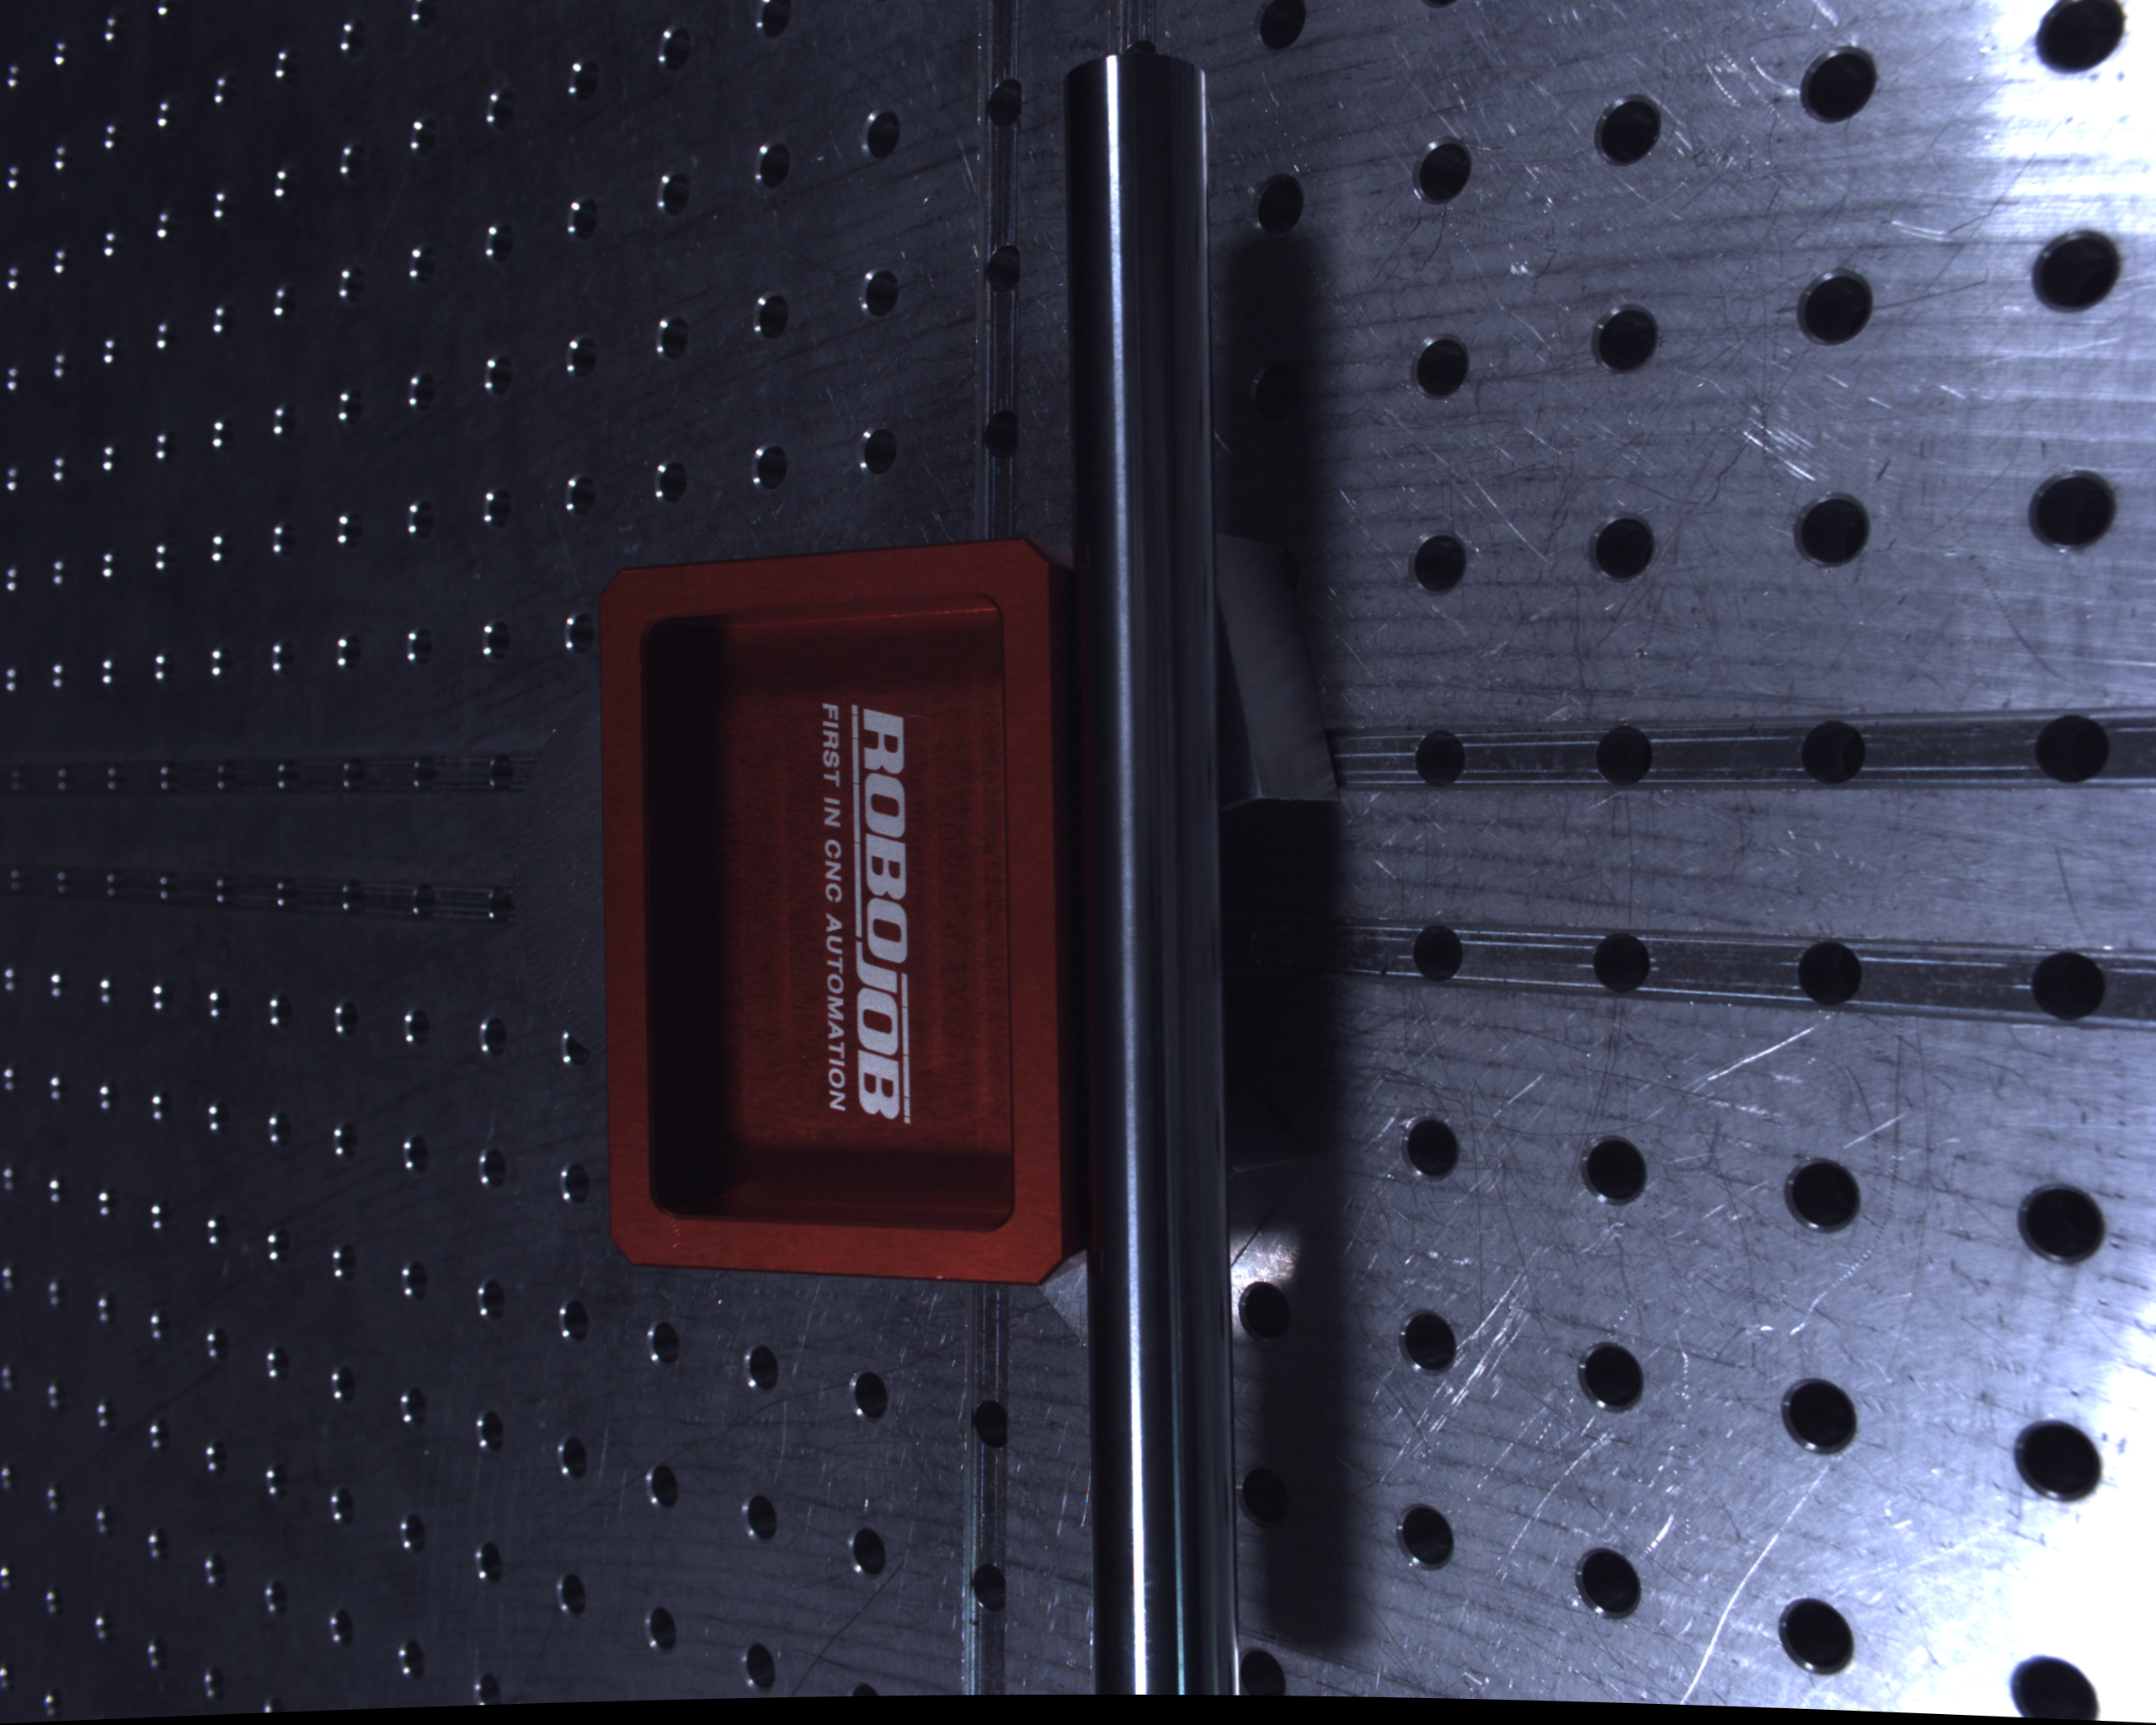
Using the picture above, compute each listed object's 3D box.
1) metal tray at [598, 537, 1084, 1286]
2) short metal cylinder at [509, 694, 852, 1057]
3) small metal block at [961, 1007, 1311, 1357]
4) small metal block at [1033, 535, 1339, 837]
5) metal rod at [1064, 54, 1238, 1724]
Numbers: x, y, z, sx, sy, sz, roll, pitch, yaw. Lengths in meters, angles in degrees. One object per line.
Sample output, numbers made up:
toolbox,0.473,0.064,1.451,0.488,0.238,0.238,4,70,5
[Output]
metal tray,-0.041,0.009,0.386,0.090,0.030,0.129,-1,89,20
short metal cylinder,-0.079,0.002,0.454,0.080,0.050,0.079,0,90,39
small metal block,0.008,0.059,0.400,0.050,0.025,0.050,46,117,29
small metal block,0.016,-0.029,0.394,0.050,0.025,0.050,-19,78,38
metal rod,0.013,0.012,0.364,0.025,0.025,0.298,-2,89,39
